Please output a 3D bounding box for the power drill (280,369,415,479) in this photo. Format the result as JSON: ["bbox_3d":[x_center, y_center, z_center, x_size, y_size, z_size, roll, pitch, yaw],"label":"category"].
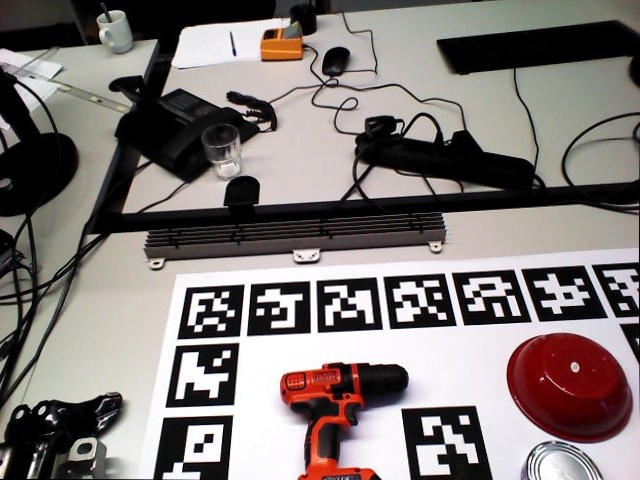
[{"bbox_3d":[0.041,0.252,0.657,0.185,0.057,0.186,-3,46,-1],"label":"power drill"}]

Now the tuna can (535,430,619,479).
[{"bbox_3d":[0.303,0.274,0.614,0.086,0.034,0.085,-2,49,2],"label":"tuna can"}]

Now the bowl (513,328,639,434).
[{"bbox_3d":[0.348,0.173,0.696,0.162,0.055,0.161,-6,42,5],"label":"bowl"}]
